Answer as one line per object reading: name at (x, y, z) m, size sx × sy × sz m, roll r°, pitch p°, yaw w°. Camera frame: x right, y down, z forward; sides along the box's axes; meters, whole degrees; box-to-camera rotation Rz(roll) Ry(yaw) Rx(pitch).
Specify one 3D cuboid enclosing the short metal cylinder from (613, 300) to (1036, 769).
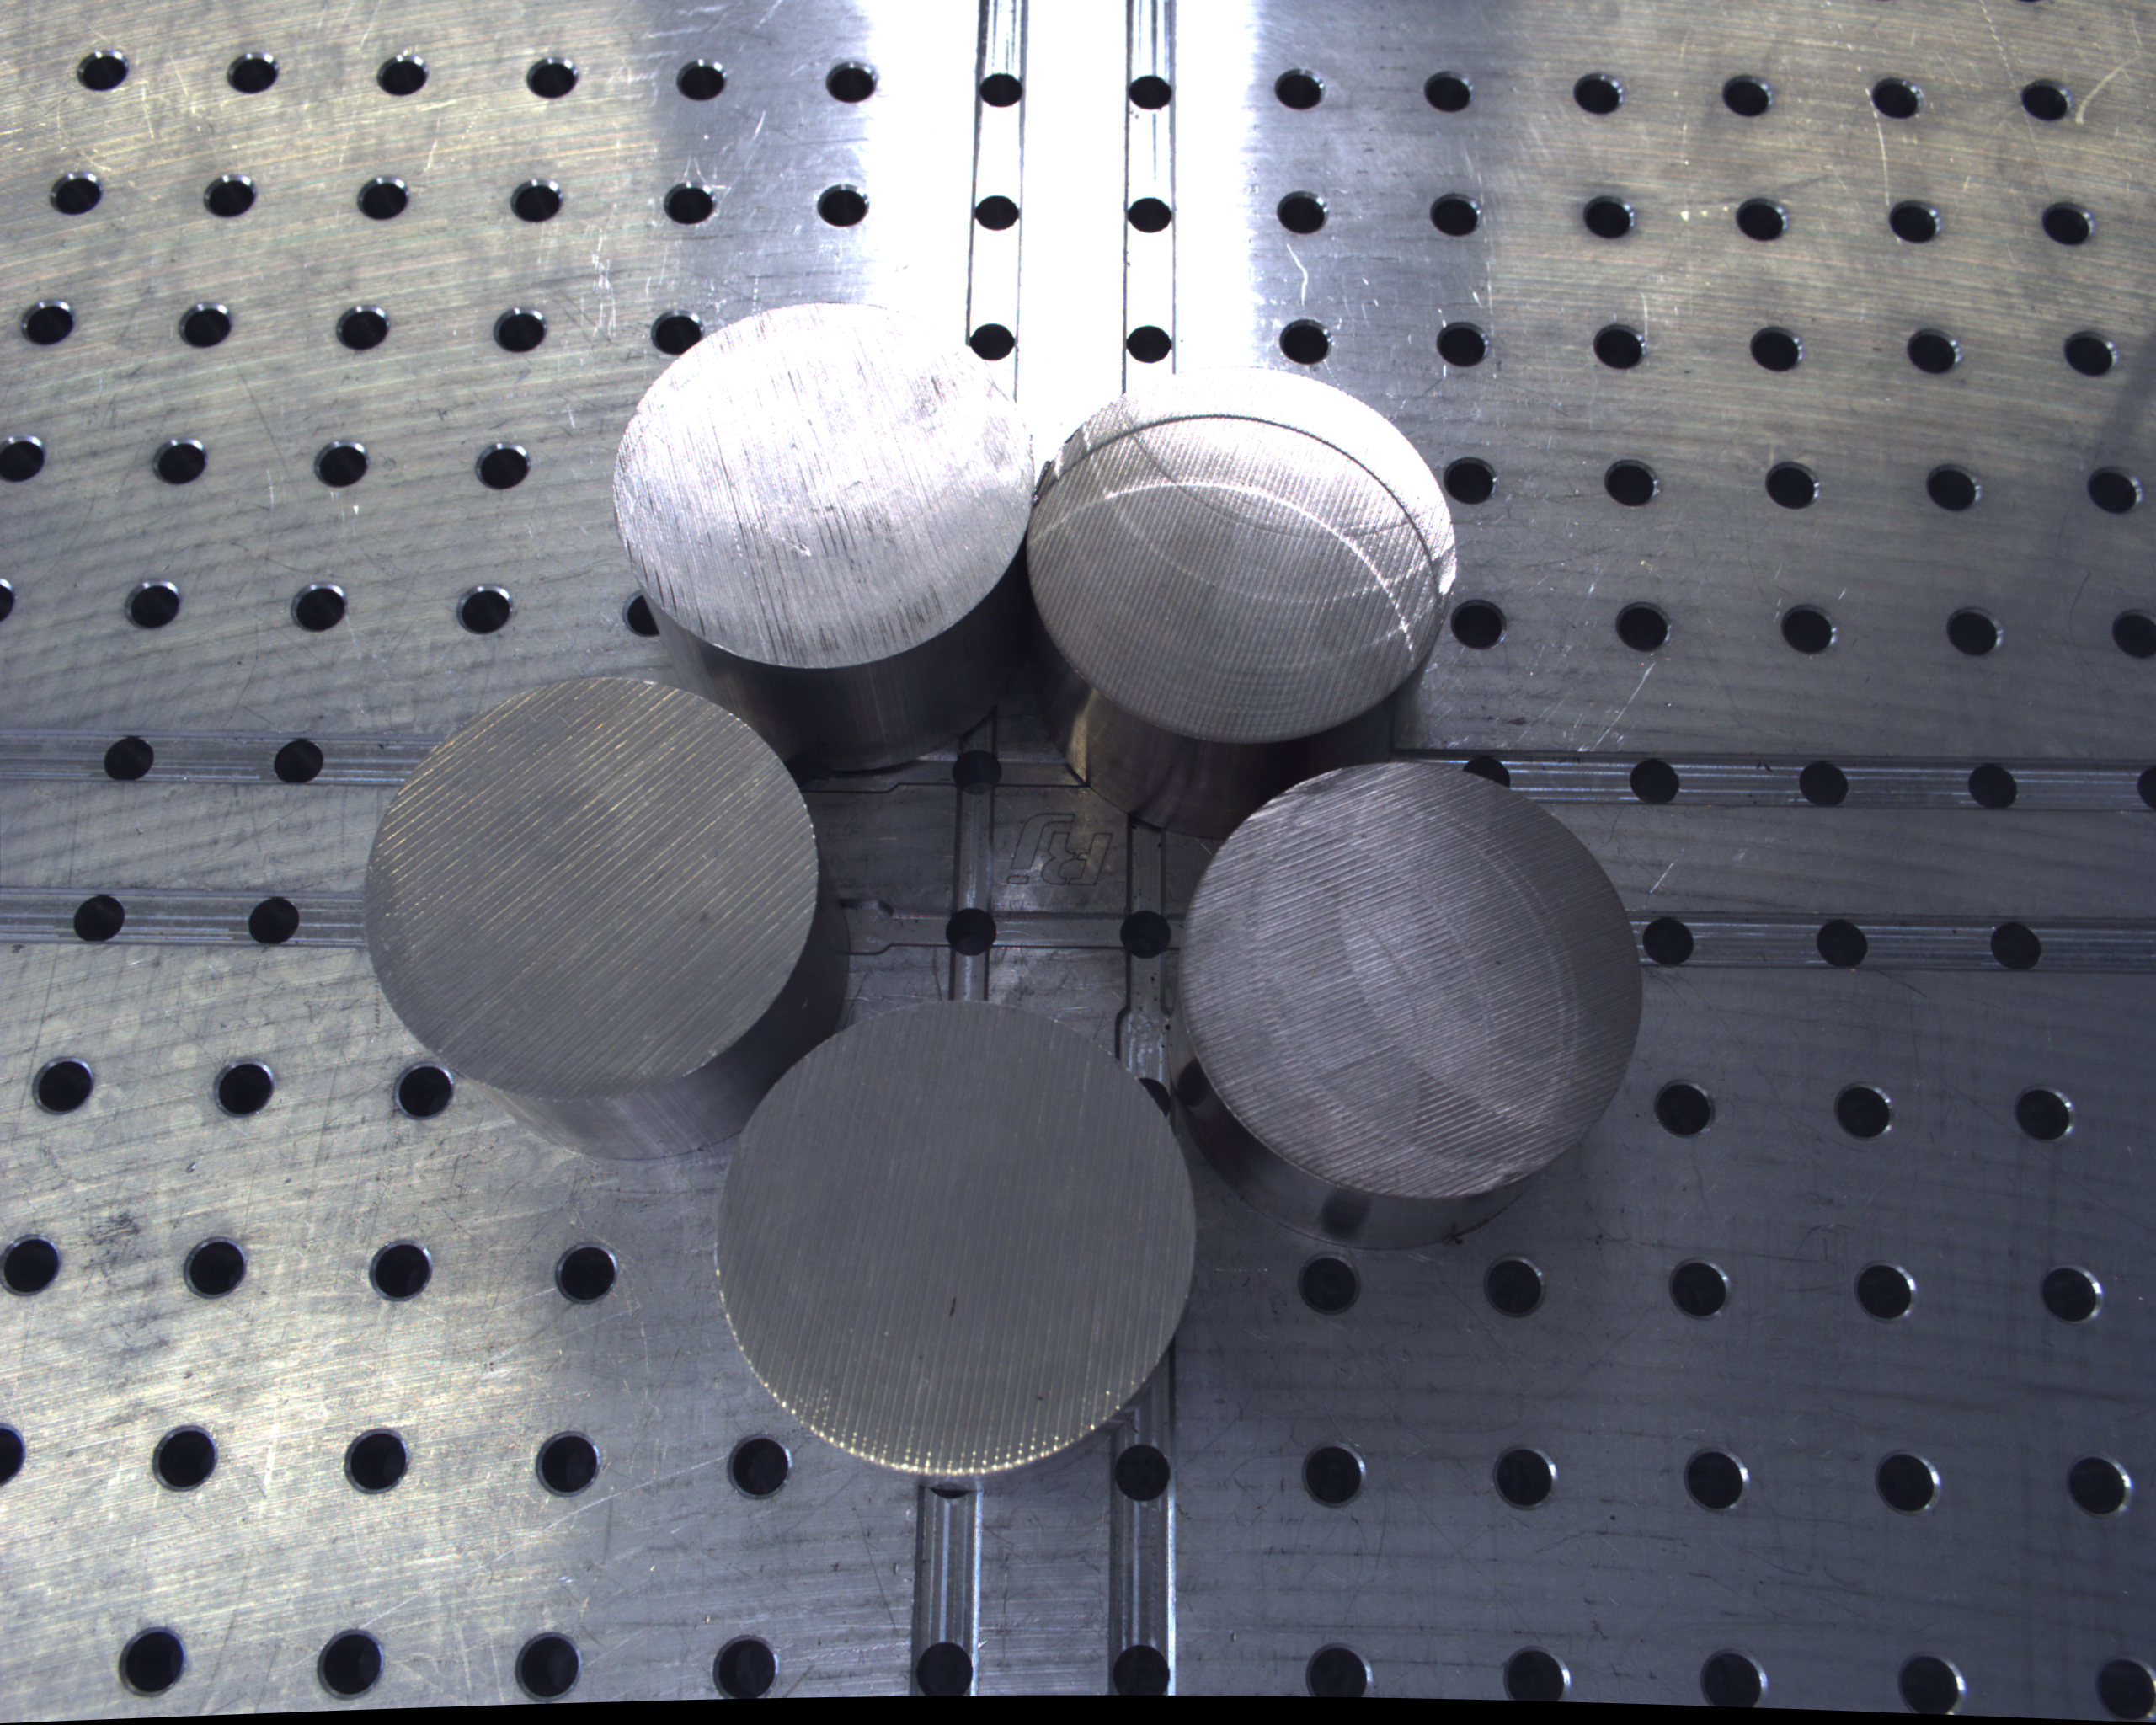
short metal cylinder at (-0.048, -0.065, 0.421) m, size 0.081 × 0.050 × 0.080 m, roll 0°, pitch 70°, yaw 0°

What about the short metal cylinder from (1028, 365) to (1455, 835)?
short metal cylinder at (0.031, -0.051, 0.416) m, size 0.081 × 0.050 × 0.080 m, roll 0°, pitch 70°, yaw 0°

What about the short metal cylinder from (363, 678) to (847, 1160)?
short metal cylinder at (-0.086, 0.012, 0.393) m, size 0.081 × 0.050 × 0.080 m, roll 0°, pitch 70°, yaw 0°

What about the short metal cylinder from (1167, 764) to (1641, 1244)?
short metal cylinder at (0.058, 0.028, 0.388) m, size 0.081 × 0.050 × 0.080 m, roll 0°, pitch 71°, yaw 0°

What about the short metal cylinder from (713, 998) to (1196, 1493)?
short metal cylinder at (-0.020, 0.069, 0.371) m, size 0.080 × 0.050 × 0.080 m, roll 0°, pitch 70°, yaw 0°
